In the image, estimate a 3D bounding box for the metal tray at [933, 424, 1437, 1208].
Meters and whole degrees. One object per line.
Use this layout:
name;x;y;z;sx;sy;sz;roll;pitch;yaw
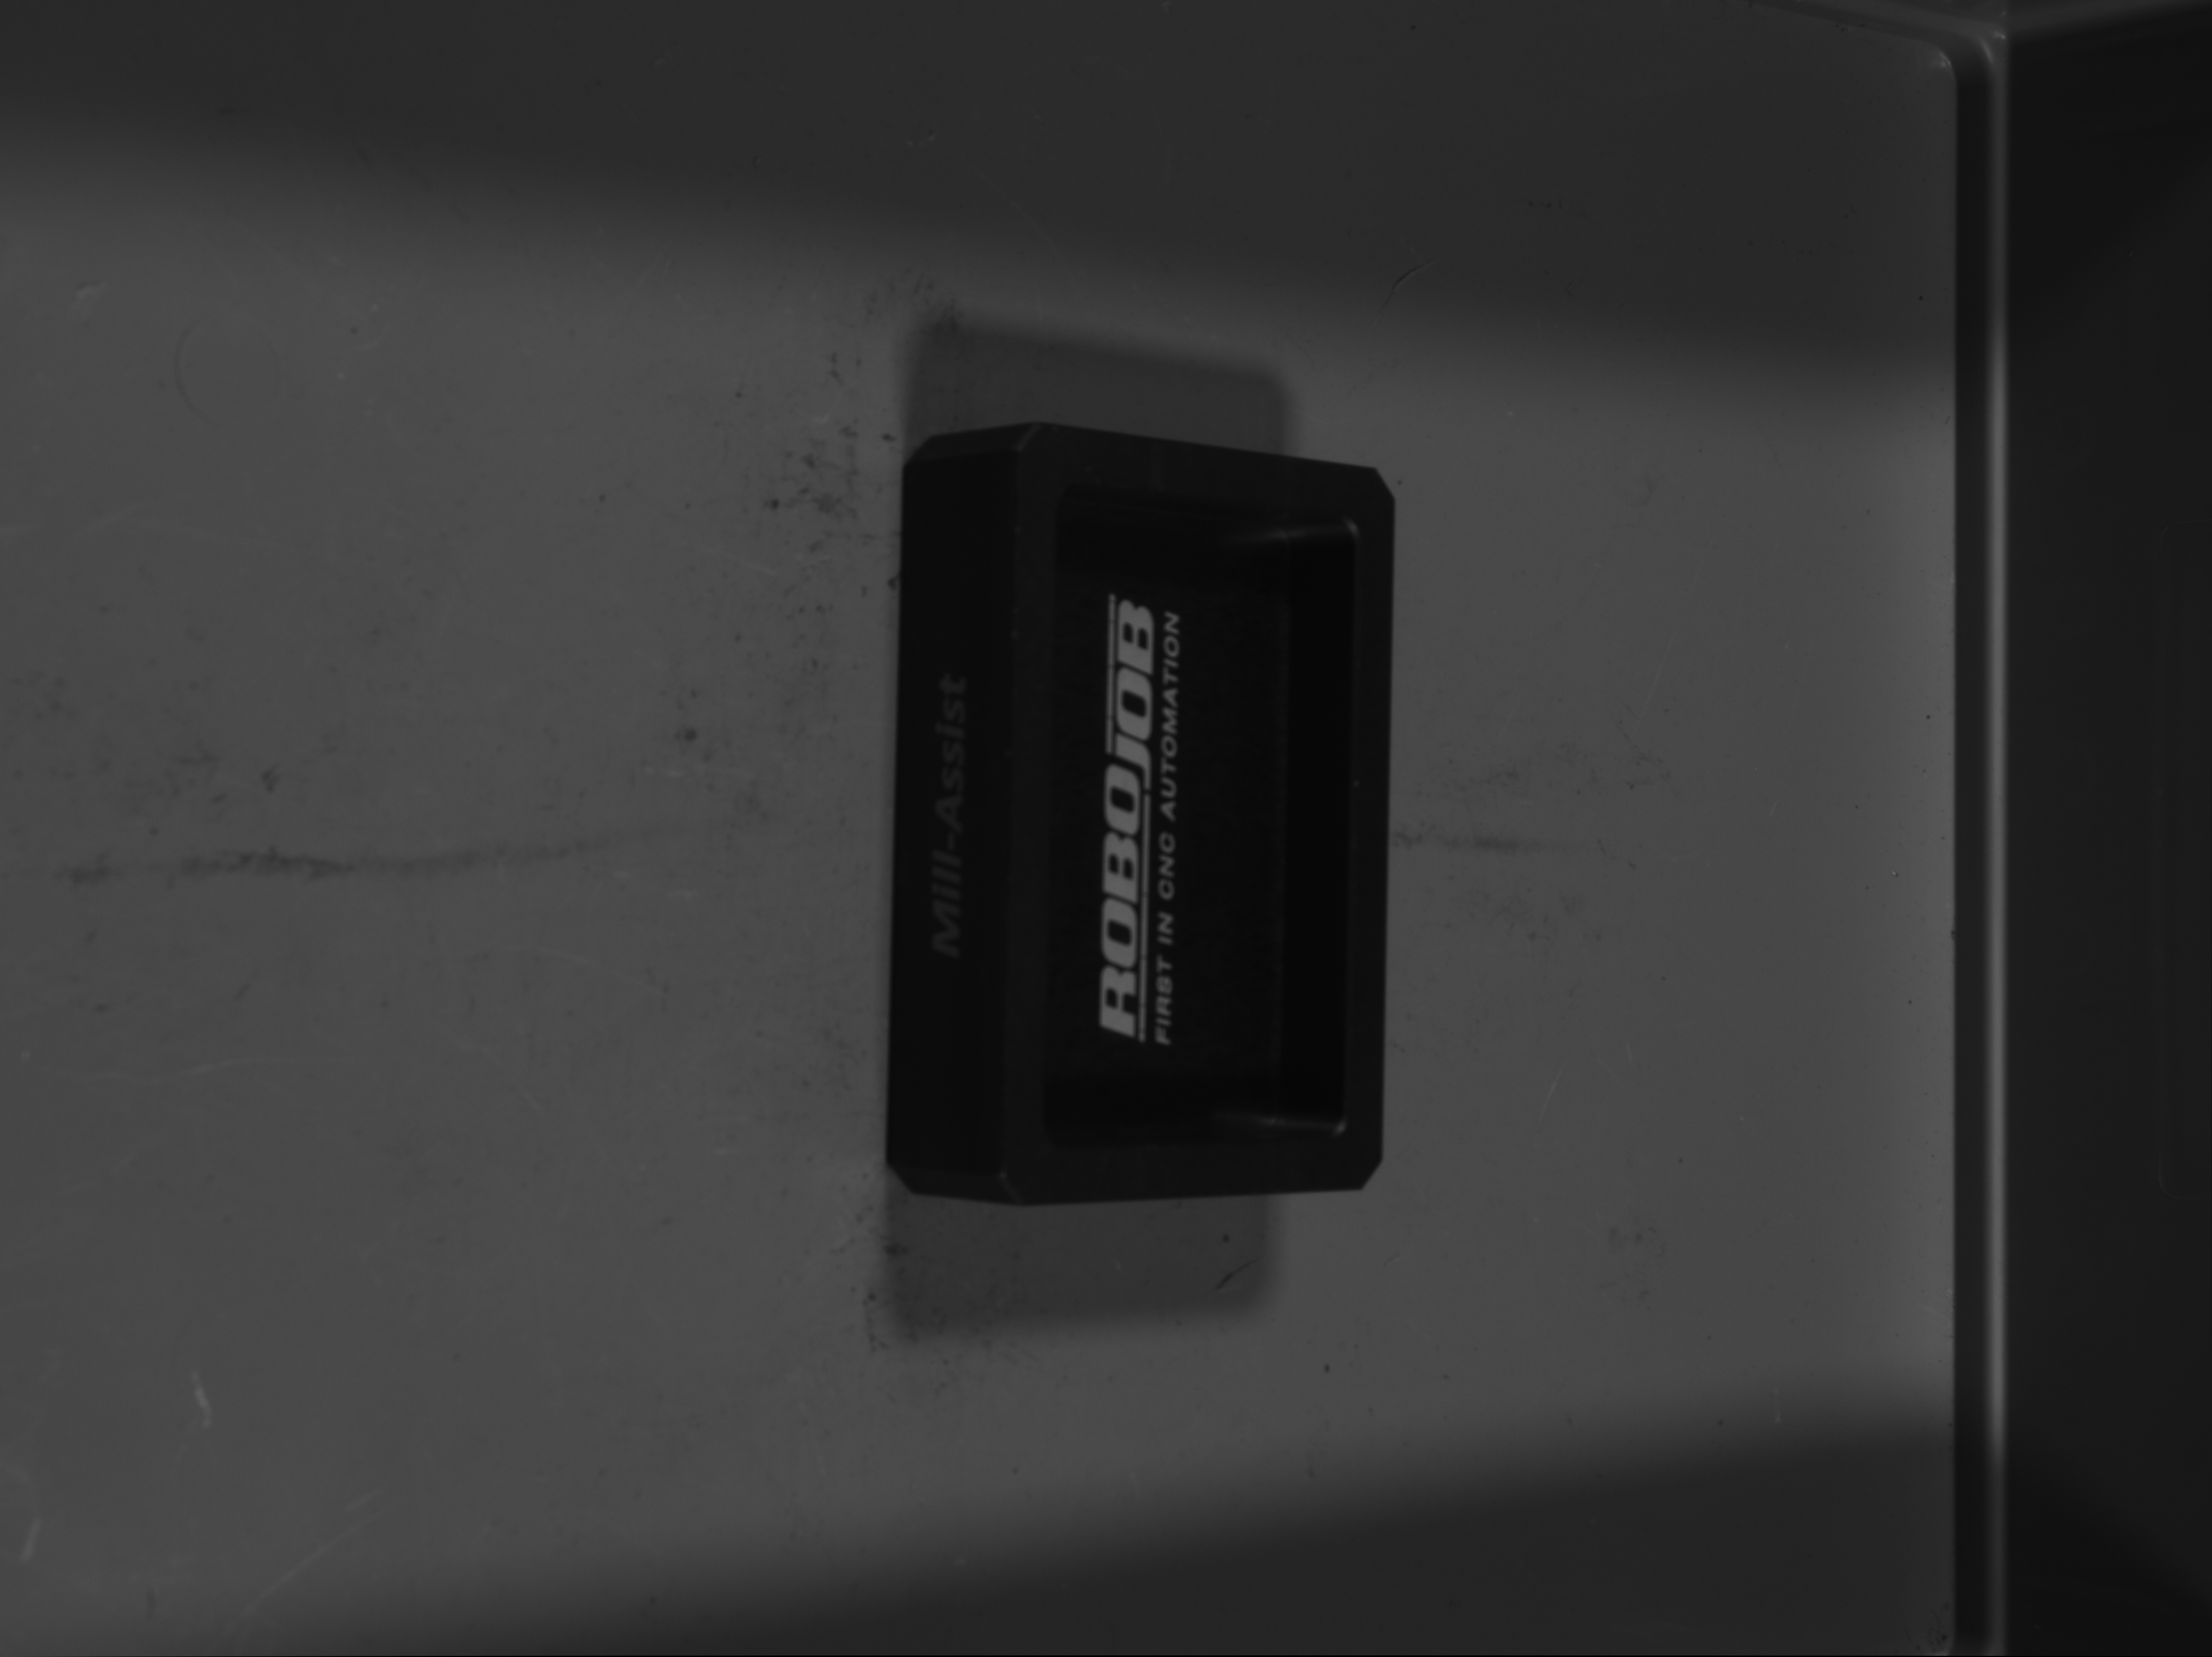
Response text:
metal tray;0.015;-0.001;0.643;0.090;0.030;0.130;2;88;-40
